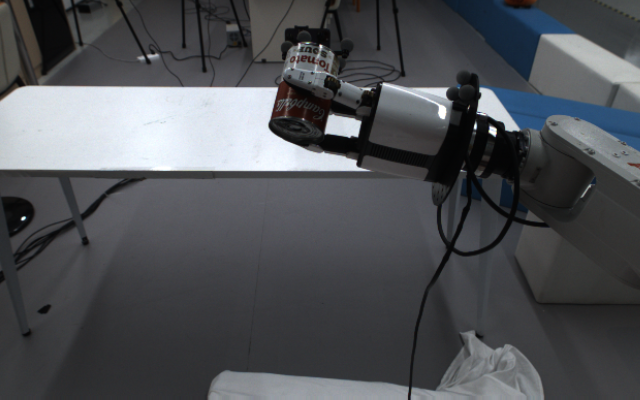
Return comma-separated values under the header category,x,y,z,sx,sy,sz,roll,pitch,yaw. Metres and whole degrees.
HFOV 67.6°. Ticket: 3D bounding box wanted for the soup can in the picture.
category,x,y,z,sx,sy,sz,roll,pitch,yaw
soup can,-0.017,-0.128,0.582,0.067,0.067,0.101,8,74,9
